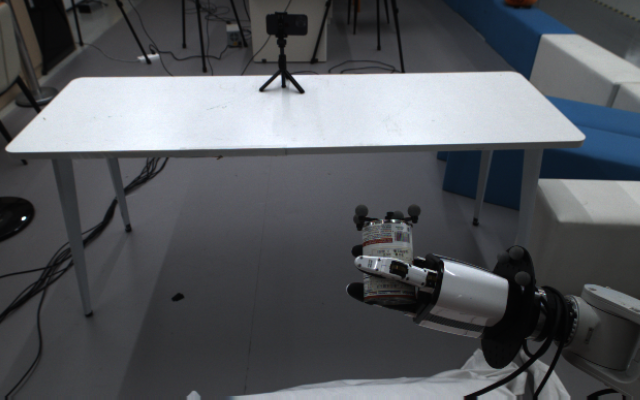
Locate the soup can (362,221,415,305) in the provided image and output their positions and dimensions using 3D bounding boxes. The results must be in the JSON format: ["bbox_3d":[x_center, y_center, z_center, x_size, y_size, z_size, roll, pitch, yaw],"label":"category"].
[{"bbox_3d":[0.090,0.083,0.631,0.067,0.067,0.101,1,73,-2],"label":"soup can"}]
